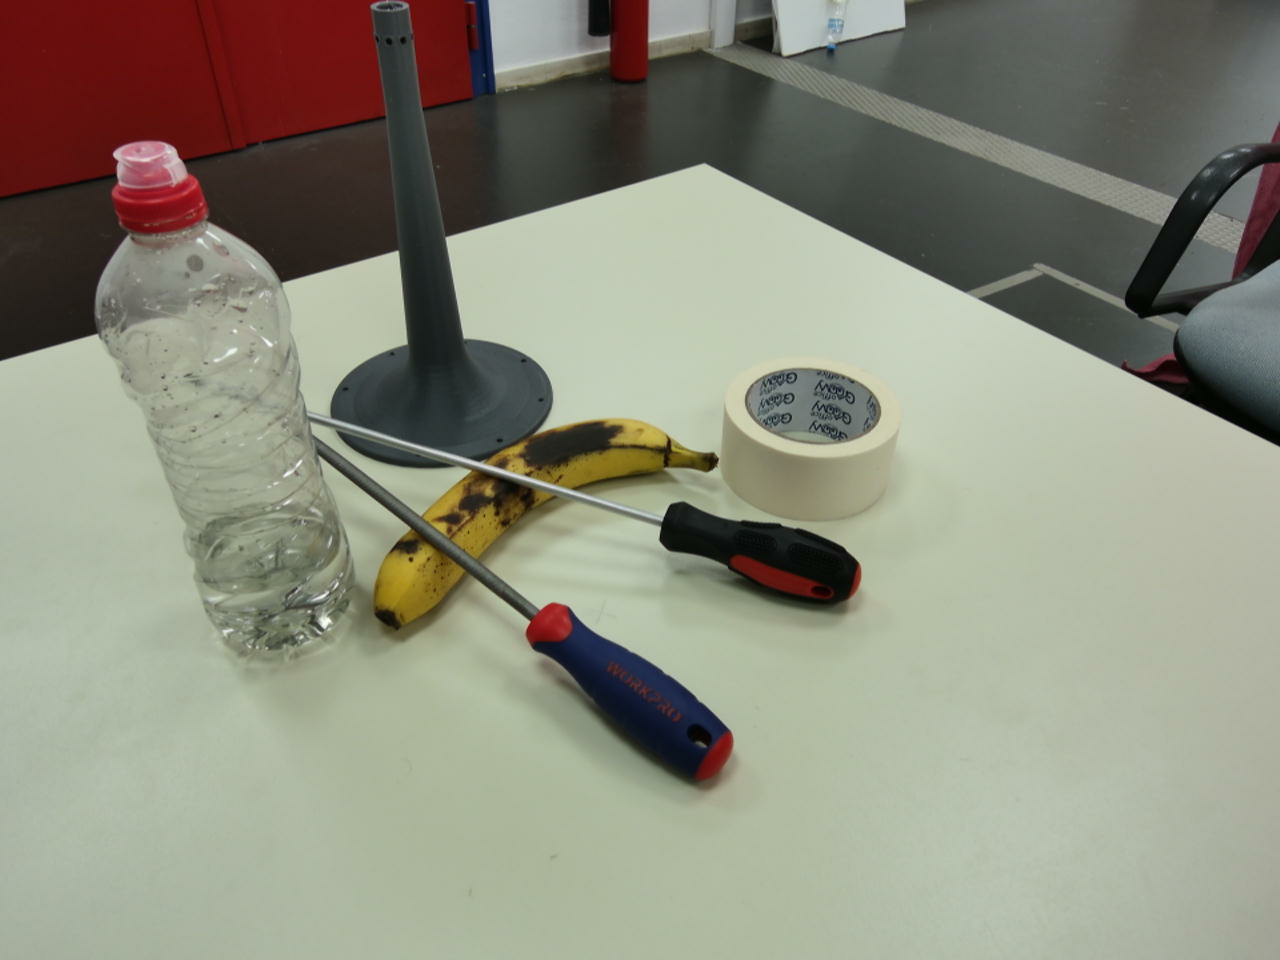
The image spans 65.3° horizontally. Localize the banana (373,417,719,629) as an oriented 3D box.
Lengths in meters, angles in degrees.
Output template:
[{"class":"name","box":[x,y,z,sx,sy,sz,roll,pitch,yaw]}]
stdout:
[{"class":"banana","box":[-0.063,0.010,0.574,0.222,0.037,0.084,-24,45,-29]}]
